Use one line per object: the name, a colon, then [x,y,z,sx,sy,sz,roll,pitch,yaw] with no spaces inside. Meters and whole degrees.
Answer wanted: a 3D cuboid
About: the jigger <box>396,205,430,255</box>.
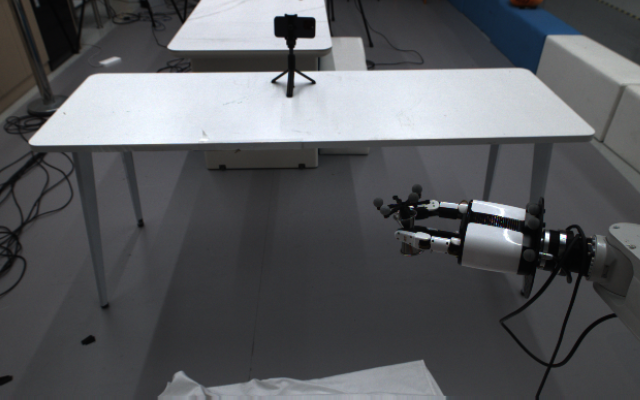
jigger: [0.149,0.053,0.811,0.043,0.071,0.043,-14,21,6]
